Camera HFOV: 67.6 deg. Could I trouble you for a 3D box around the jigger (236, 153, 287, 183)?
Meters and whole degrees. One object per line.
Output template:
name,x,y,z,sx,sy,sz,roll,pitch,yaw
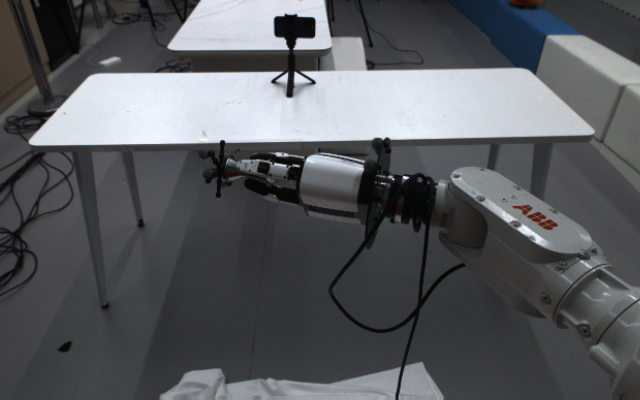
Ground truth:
jigger,-0.098,-0.048,0.738,0.071,0.043,0.043,4,34,15
